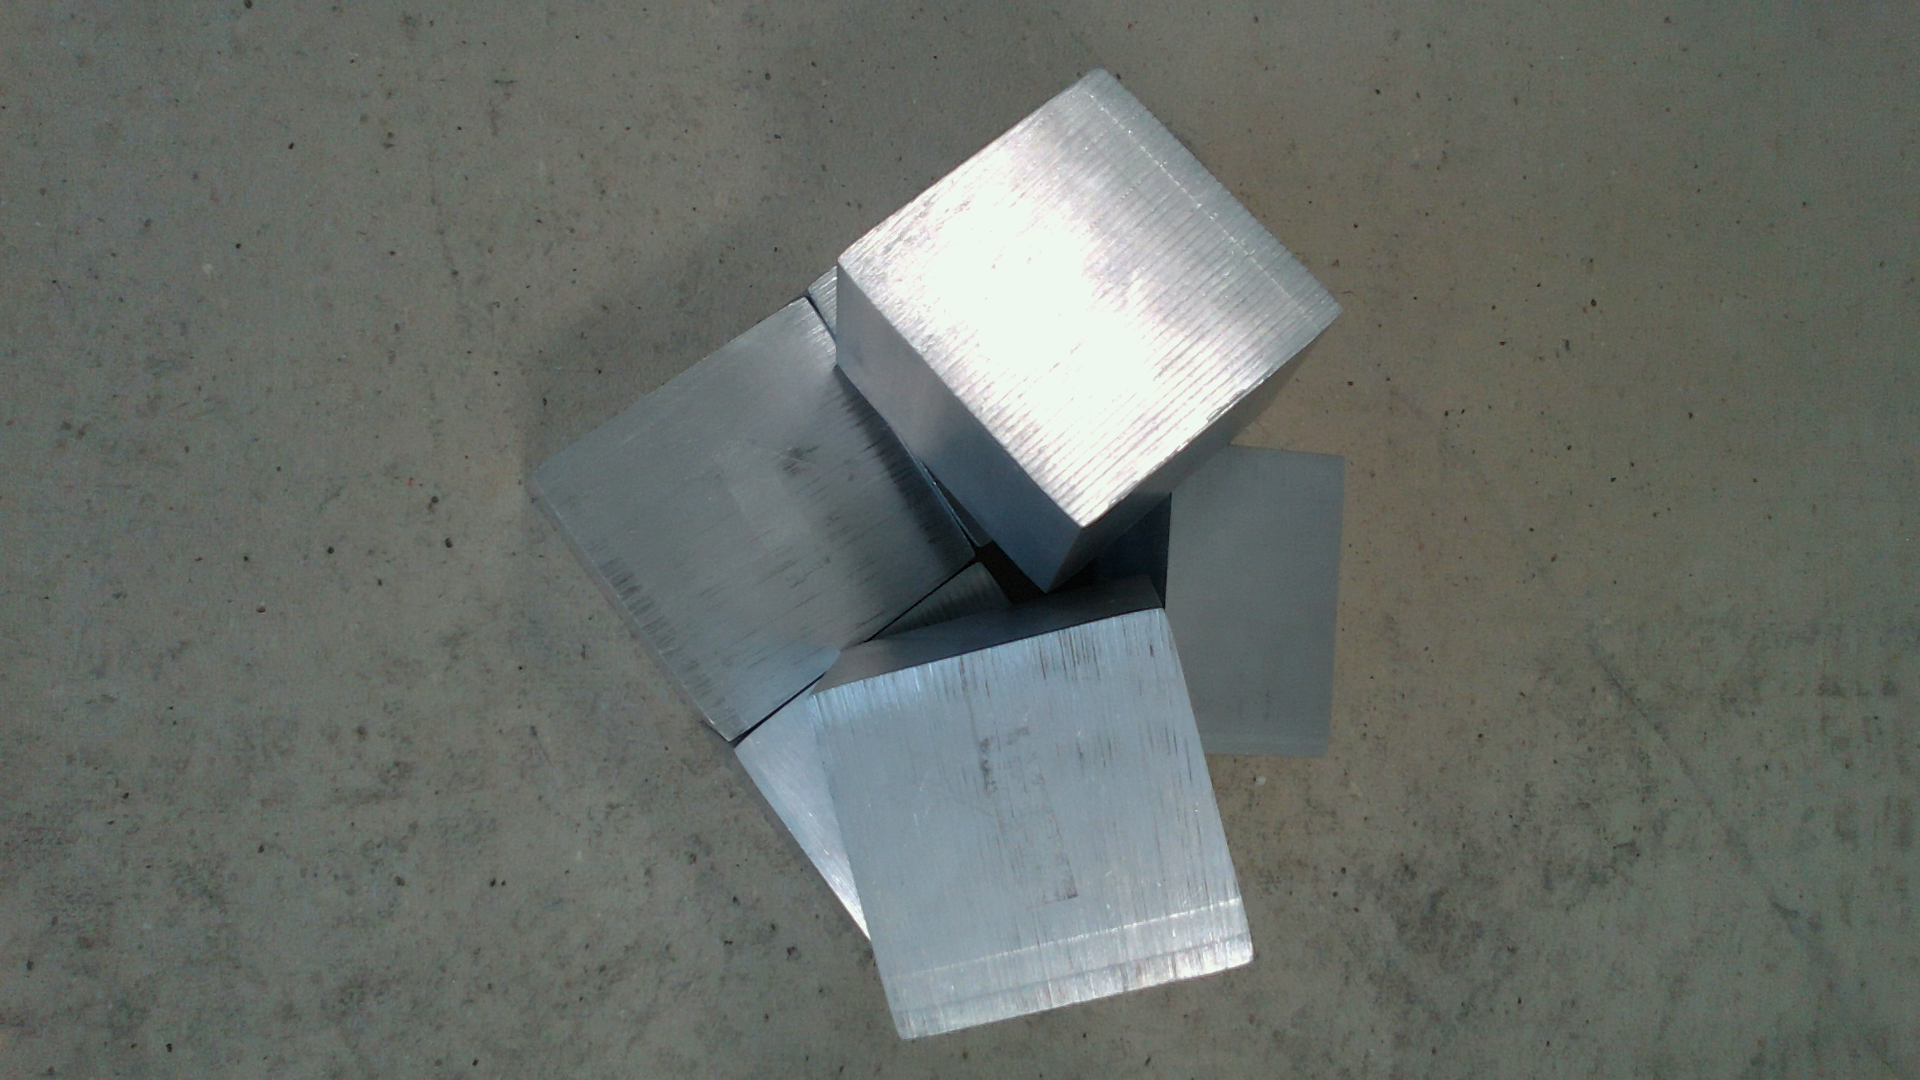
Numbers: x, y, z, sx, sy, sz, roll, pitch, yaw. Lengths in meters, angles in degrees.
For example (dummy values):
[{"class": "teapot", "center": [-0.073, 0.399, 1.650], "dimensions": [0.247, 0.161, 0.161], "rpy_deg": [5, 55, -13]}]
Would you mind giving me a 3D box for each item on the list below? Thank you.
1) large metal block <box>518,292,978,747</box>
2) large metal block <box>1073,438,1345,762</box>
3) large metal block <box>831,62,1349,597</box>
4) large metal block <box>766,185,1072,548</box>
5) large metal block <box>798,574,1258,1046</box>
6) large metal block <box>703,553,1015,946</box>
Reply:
[{"class": "large metal block", "center": [-0.056, -0.006, 0.361], "dimensions": [0.080, 0.050, 0.080], "rpy_deg": [-37, 102, -16]}, {"class": "large metal block", "center": [0.061, 0.016, 0.387], "dimensions": [0.050, 0.080, 0.080], "rpy_deg": [4, 89, -20]}, {"class": "large metal block", "center": [0.027, -0.048, 0.320], "dimensions": [0.080, 0.050, 0.080], "rpy_deg": [-39, 80, -16]}, {"class": "large metal block", "center": [0.005, -0.054, 0.381], "dimensions": [0.080, 0.050, 0.080], "rpy_deg": [-38, 102, -17]}, {"class": "large metal block", "center": [0.016, 0.059, 0.318], "dimensions": [0.080, 0.050, 0.080], "rpy_deg": [-15, 96, 5]}, {"class": "large metal block", "center": [-0.012, 0.059, 0.377], "dimensions": [0.080, 0.050, 0.080], "rpy_deg": [-37, 102, -16]}]
